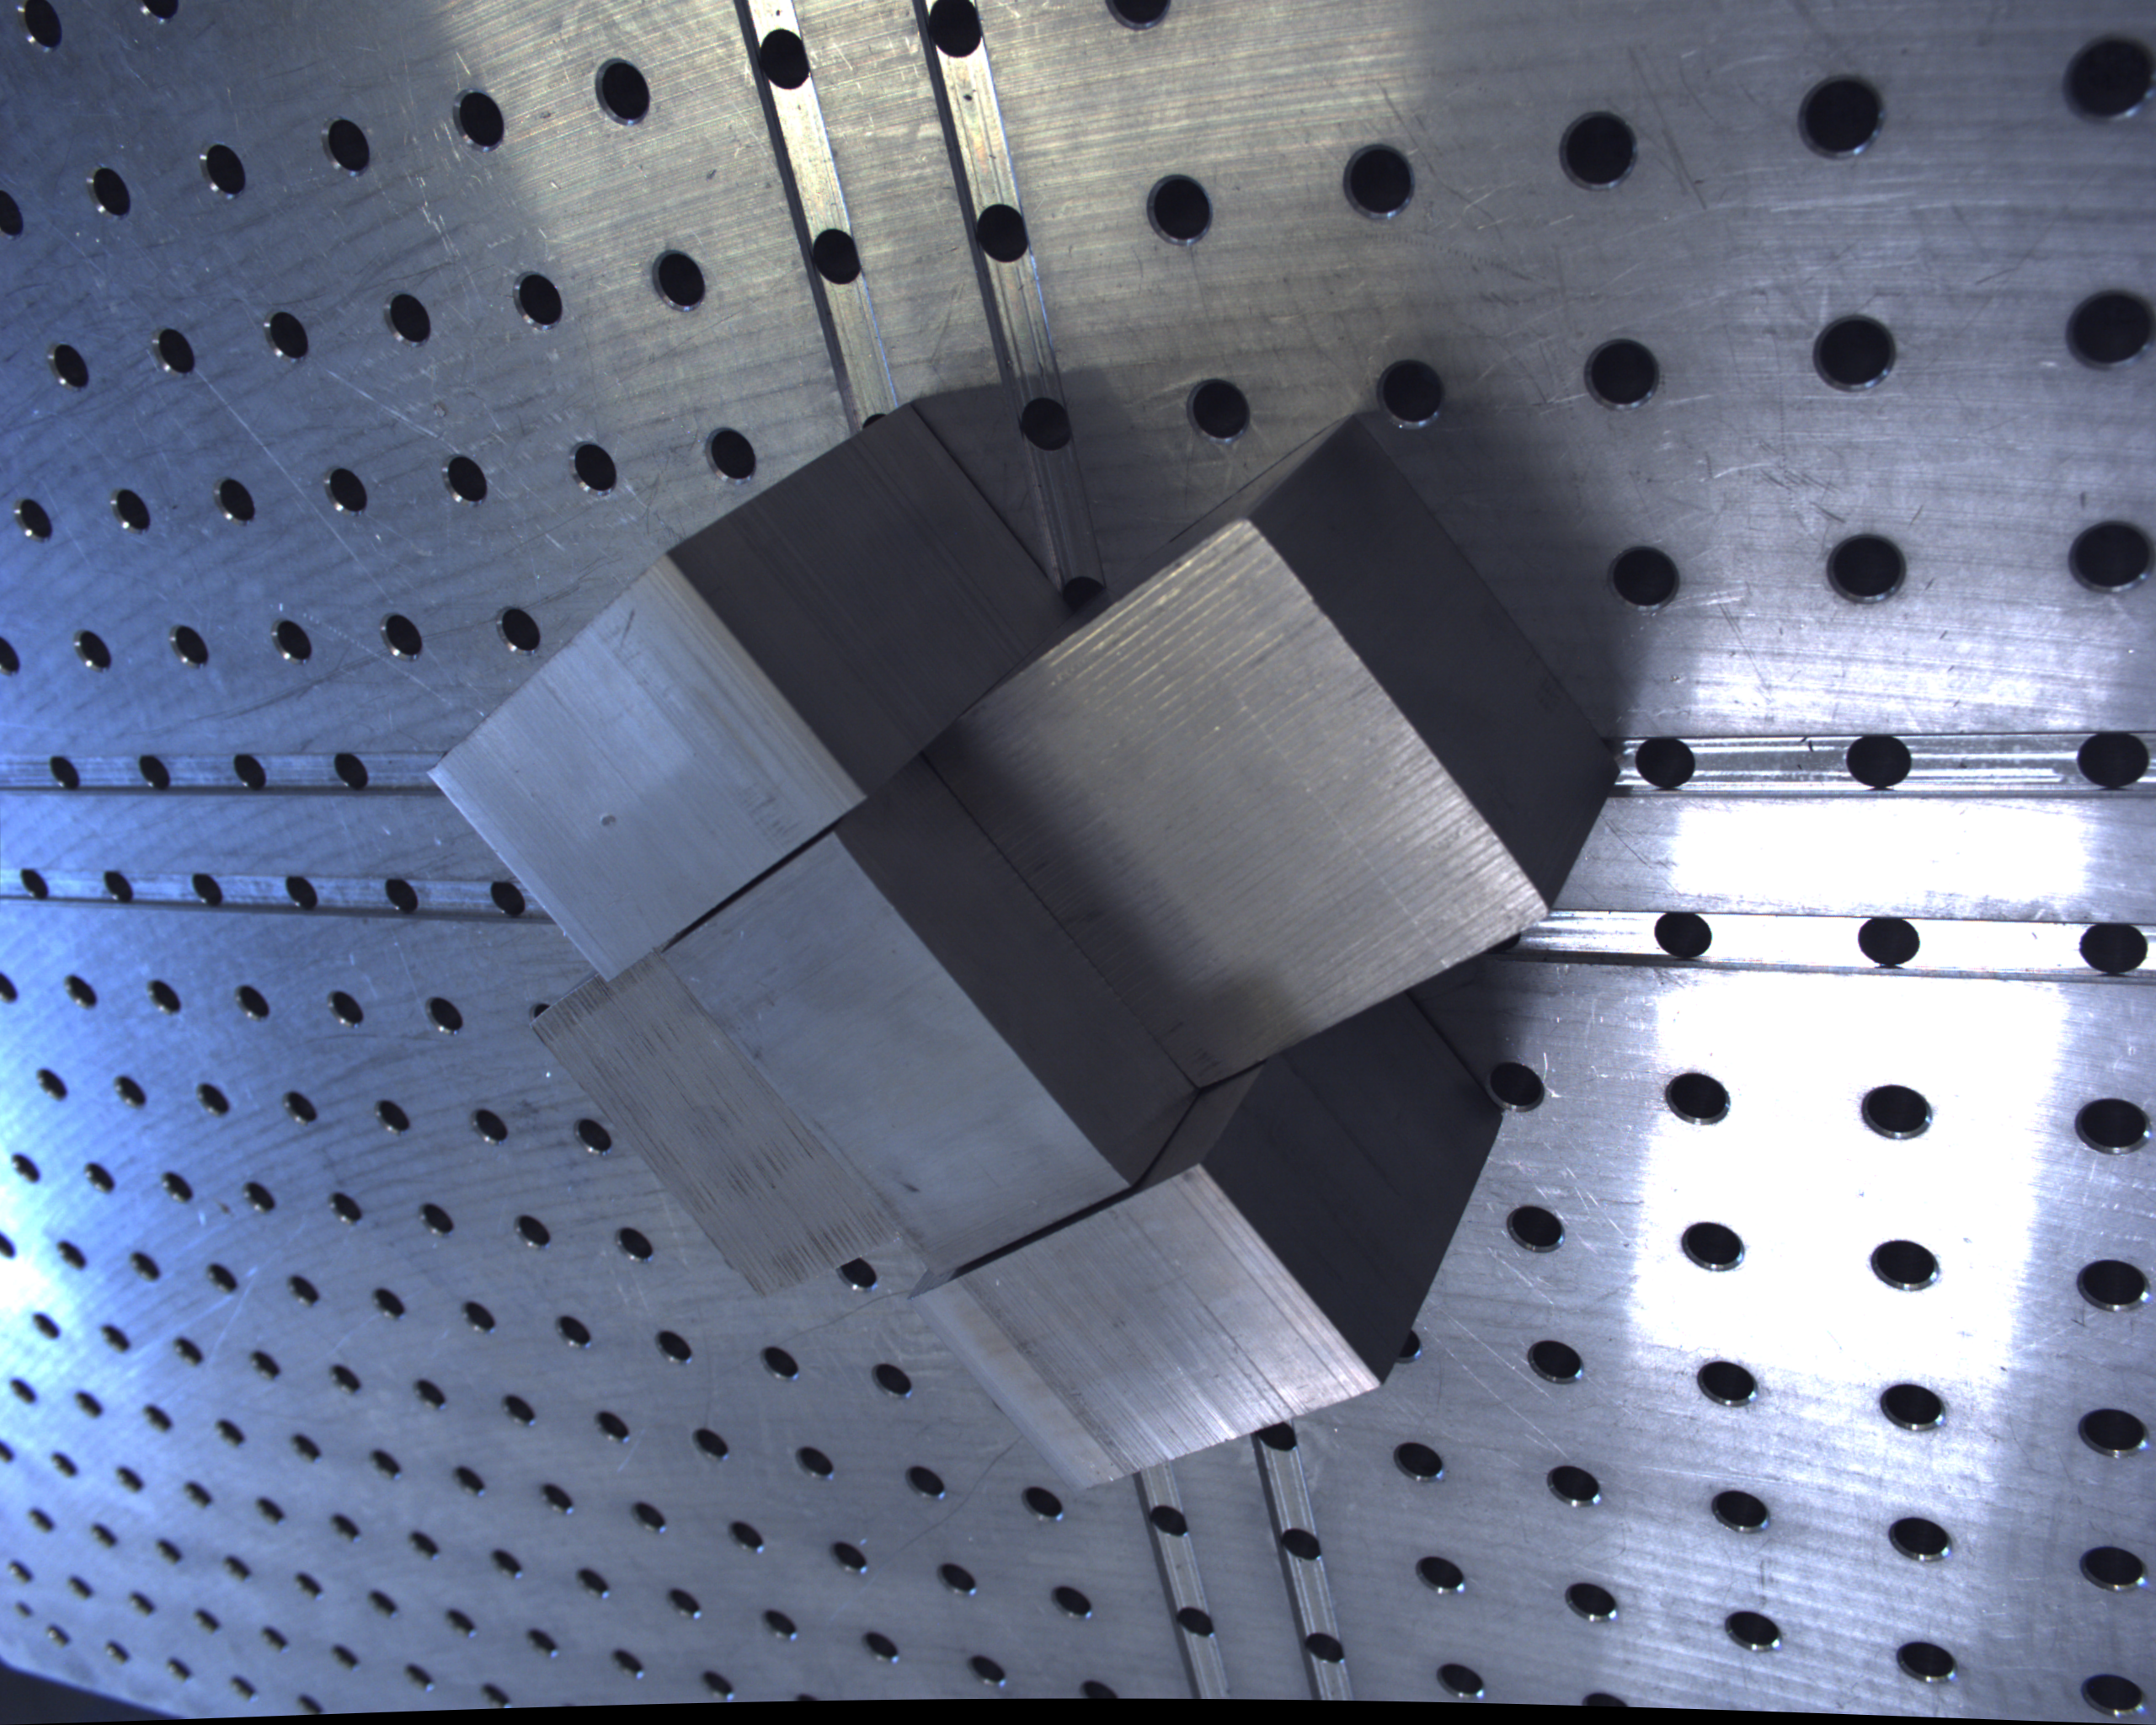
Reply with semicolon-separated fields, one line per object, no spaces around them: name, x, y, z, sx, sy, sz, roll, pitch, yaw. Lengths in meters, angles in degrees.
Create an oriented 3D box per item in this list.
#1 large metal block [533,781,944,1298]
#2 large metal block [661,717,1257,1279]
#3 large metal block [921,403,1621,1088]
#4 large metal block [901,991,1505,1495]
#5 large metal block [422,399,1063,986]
large metal block;-0.055;0.037;0.449;0.080;0.050;0.080;-30;102;38
large metal block;-0.016;0.017;0.395;0.050;0.080;0.080;-32;100;38
large metal block;0.033;-0.018;0.366;0.080;0.050;0.080;-32;103;38
large metal block;0.026;0.066;0.403;0.080;0.080;0.050;-32;100;37
large metal block;-0.059;-0.032;0.387;0.080;0.080;0.050;-32;100;38
